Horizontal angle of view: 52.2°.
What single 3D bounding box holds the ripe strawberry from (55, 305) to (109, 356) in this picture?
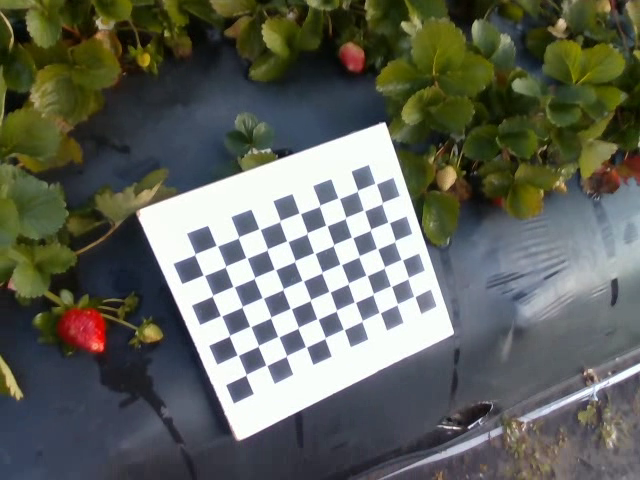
[{"bbox_3d":[-0.225,0.093,0.622,0.057,0.043,0.052,34,-13,44],"label":"ripe strawberry"}]
